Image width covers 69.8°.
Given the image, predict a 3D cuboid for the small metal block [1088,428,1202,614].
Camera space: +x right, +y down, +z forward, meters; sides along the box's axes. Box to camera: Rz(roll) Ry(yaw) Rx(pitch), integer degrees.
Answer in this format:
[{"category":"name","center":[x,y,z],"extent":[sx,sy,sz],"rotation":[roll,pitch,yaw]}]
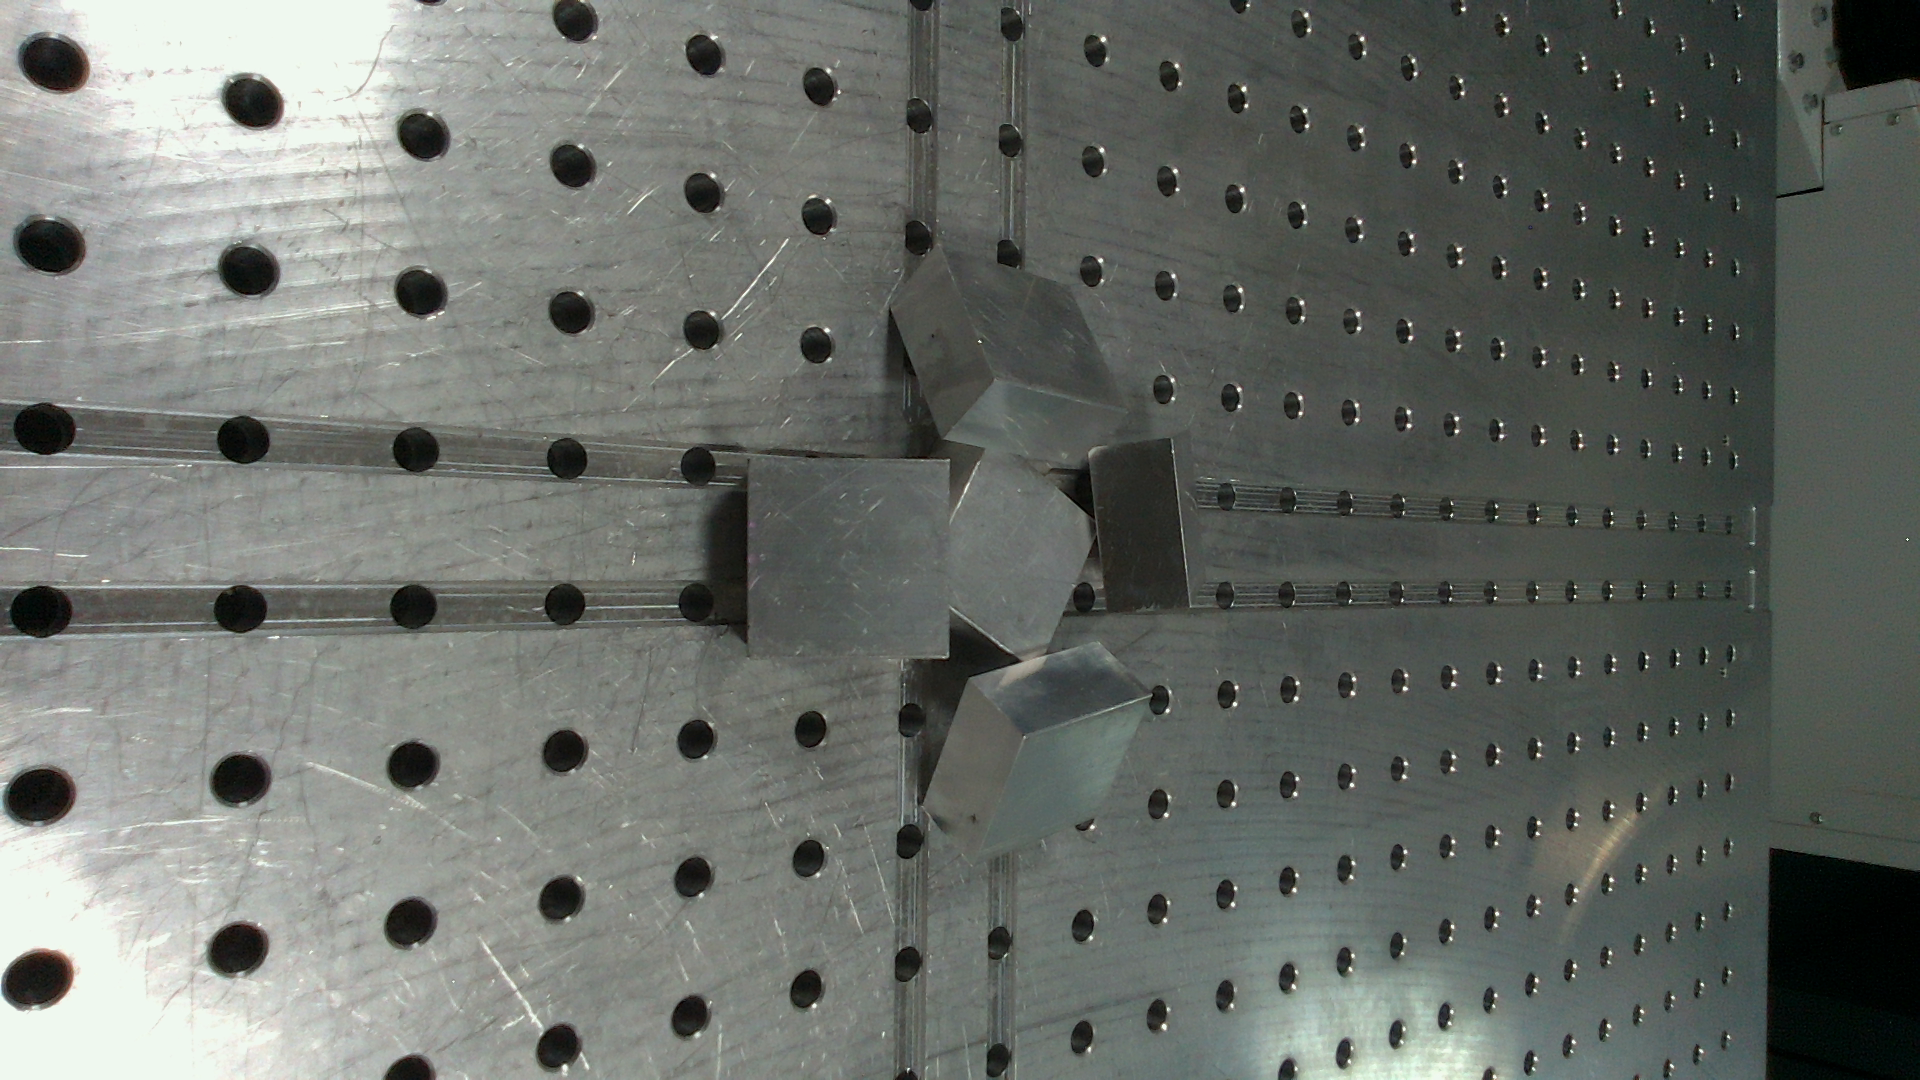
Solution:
[{"category":"small metal block","center":[0.058,-0.007,0.425],"extent":[0.050,0.025,0.050],"rotation":[-28,111,-73]}]

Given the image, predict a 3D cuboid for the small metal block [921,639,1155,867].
[{"category":"small metal block","center":[0.022,0.060,0.394],"extent":[0.050,0.025,0.050],"rotation":[-12,133,-39]}]

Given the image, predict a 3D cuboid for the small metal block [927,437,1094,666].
[{"category":"small metal block","center":[0.008,0.003,0.398],"extent":[0.050,0.025,0.050],"rotation":[38,67,-33]}]

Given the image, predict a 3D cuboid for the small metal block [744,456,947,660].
[{"category":"small metal block","center":[-0.029,0.004,0.353],"extent":[0.050,0.025,0.050],"rotation":[0,90,-5]}]

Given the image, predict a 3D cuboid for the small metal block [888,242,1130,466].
[{"category":"small metal block","center":[0.013,-0.051,0.387],"extent":[0.050,0.025,0.050],"rotation":[8,49,-39]}]
